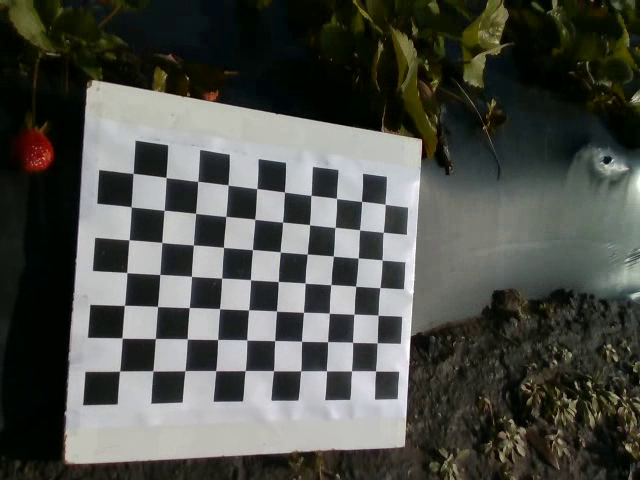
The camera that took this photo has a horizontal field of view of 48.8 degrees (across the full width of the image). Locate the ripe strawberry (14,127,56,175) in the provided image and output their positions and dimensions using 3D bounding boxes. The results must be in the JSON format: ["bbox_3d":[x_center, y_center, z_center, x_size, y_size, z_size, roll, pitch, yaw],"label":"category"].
[{"bbox_3d":[-0.175,-0.051,0.426,0.034,0.033,0.038,4,35,-25],"label":"ripe strawberry"}]
